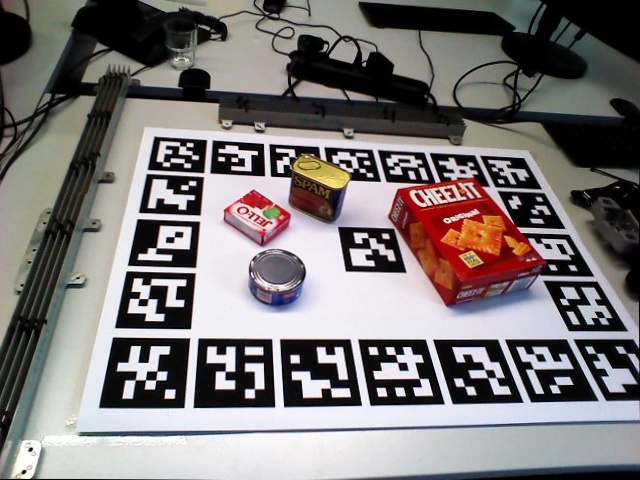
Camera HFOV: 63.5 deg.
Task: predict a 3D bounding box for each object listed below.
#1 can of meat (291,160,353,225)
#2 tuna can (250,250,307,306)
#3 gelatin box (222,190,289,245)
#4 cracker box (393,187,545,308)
[{"bbox_3d":[0.000,-0.083,0.916,0.102,0.084,0.057,23,45,13],"label":"can of meat"},{"bbox_3d":[-0.063,0.058,0.782,0.086,0.034,0.085,5,48,-5],"label":"tuna can"},{"bbox_3d":[-0.110,-0.041,0.880,0.089,0.030,0.073,34,46,19],"label":"gelatin box"},{"bbox_3d":[0.248,0.003,0.882,0.164,0.072,0.213,-9,46,-22],"label":"cracker box"}]
